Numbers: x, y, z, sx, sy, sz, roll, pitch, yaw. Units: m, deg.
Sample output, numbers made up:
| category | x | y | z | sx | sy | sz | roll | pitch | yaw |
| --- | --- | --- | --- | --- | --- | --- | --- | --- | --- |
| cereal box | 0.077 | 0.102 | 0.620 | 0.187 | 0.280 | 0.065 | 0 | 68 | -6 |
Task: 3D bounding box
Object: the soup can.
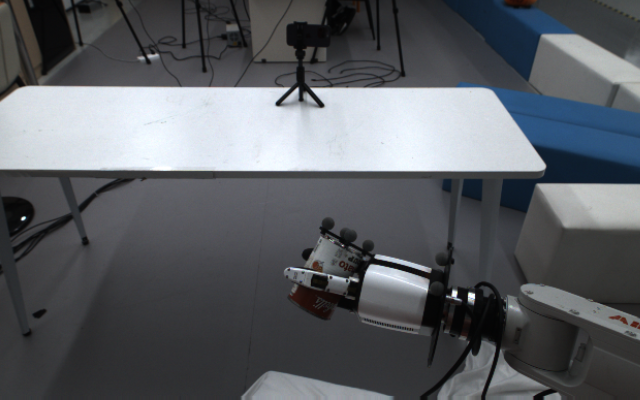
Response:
| category | x | y | z | sx | sy | sz | roll | pitch | yaw |
| --- | --- | --- | --- | --- | --- | --- | --- | --- | --- |
| soup can | 0.009 | 0.105 | 0.671 | 0.067 | 0.101 | 0.067 | 29 | -3 | 2 |
